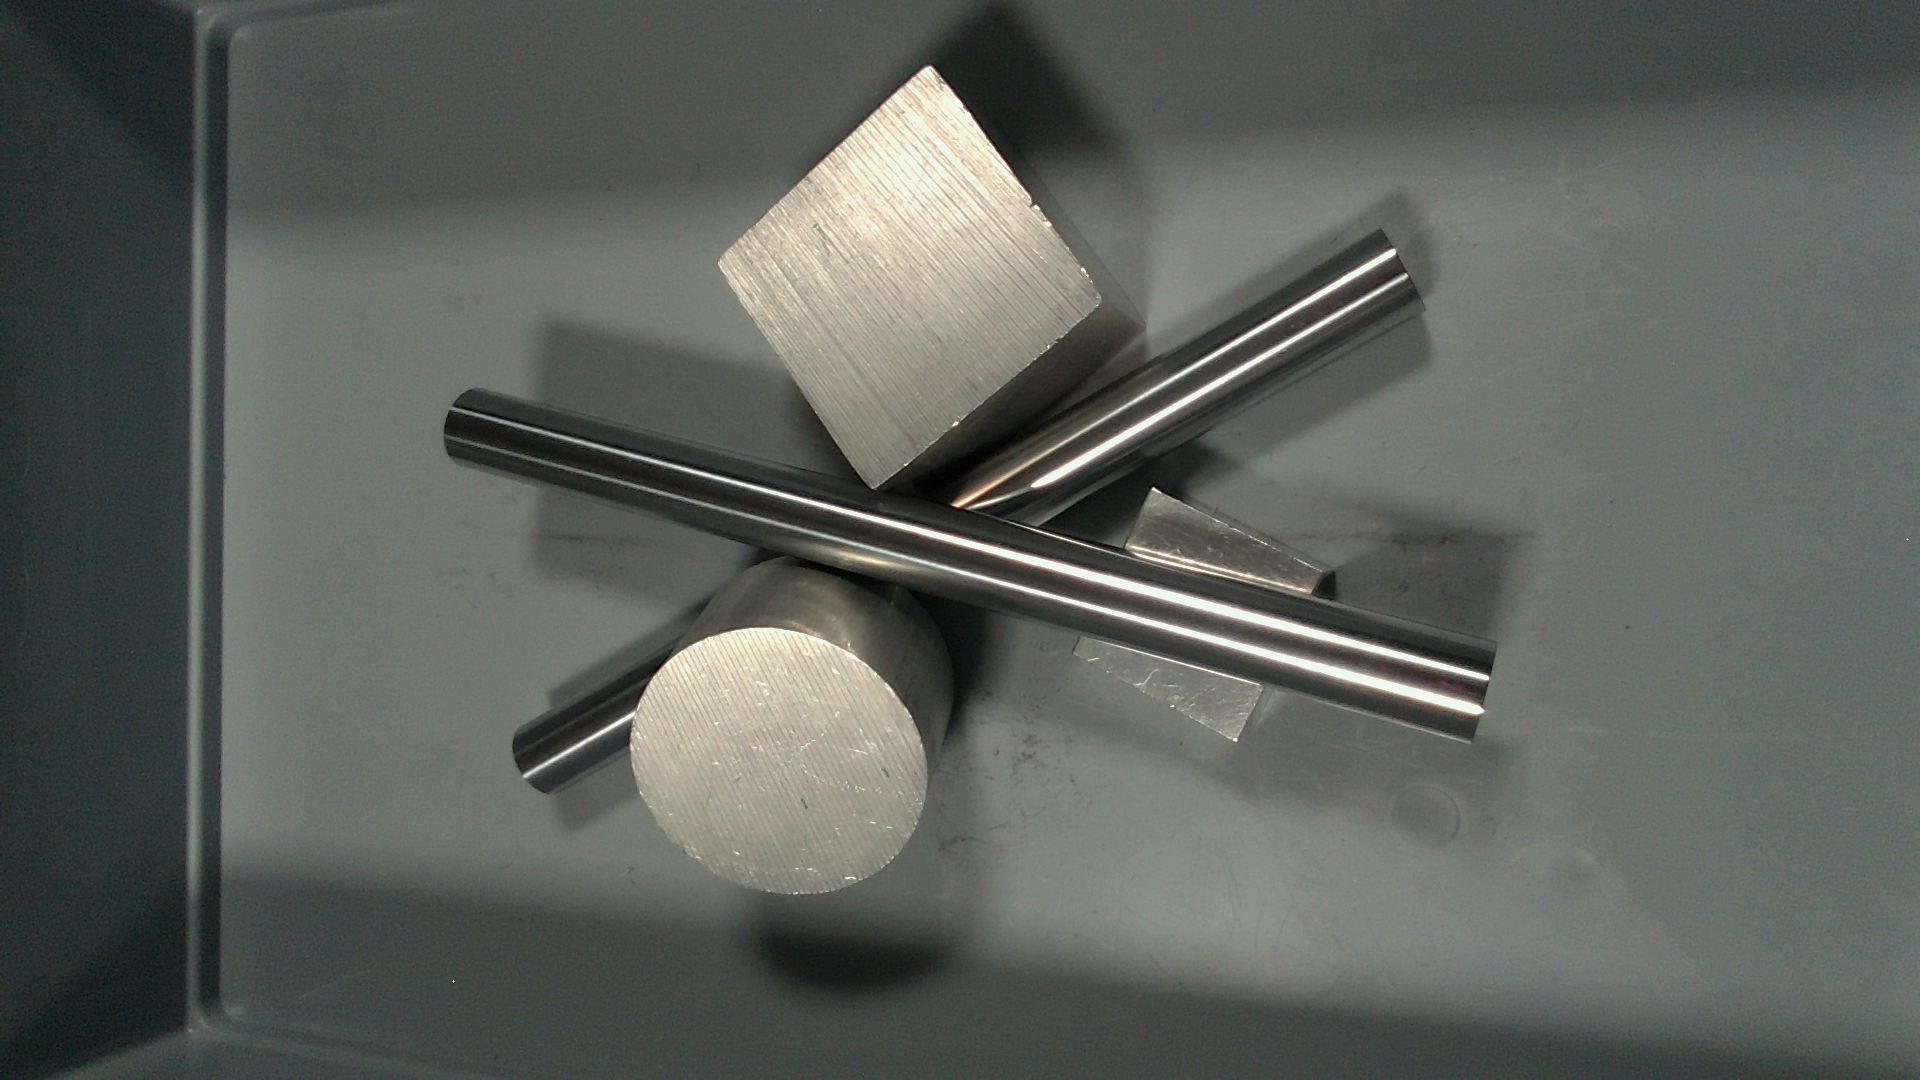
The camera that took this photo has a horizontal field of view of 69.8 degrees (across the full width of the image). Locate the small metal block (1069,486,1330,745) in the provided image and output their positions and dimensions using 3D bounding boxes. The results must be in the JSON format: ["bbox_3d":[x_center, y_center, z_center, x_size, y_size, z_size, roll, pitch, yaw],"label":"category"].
[{"bbox_3d":[0.065,0.019,0.369,0.050,0.025,0.050,28,99,18],"label":"small metal block"}]

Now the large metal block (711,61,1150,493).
[{"bbox_3d":[-0.008,-0.069,0.383,0.080,0.050,0.080,-38,78,16],"label":"large metal block"}]

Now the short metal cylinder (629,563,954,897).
[{"bbox_3d":[-0.045,0.051,0.383,0.080,0.050,0.080,3,112,7],"label":"short metal cylinder"}]

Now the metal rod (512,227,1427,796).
[{"bbox_3d":[-0.010,0.001,0.398,0.299,0.025,0.025,-29,80,18],"label":"metal rod"}]

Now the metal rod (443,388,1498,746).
[{"bbox_3d":[-0.013,0.001,0.373,0.299,0.025,0.025,14,95,19],"label":"metal rod"}]
